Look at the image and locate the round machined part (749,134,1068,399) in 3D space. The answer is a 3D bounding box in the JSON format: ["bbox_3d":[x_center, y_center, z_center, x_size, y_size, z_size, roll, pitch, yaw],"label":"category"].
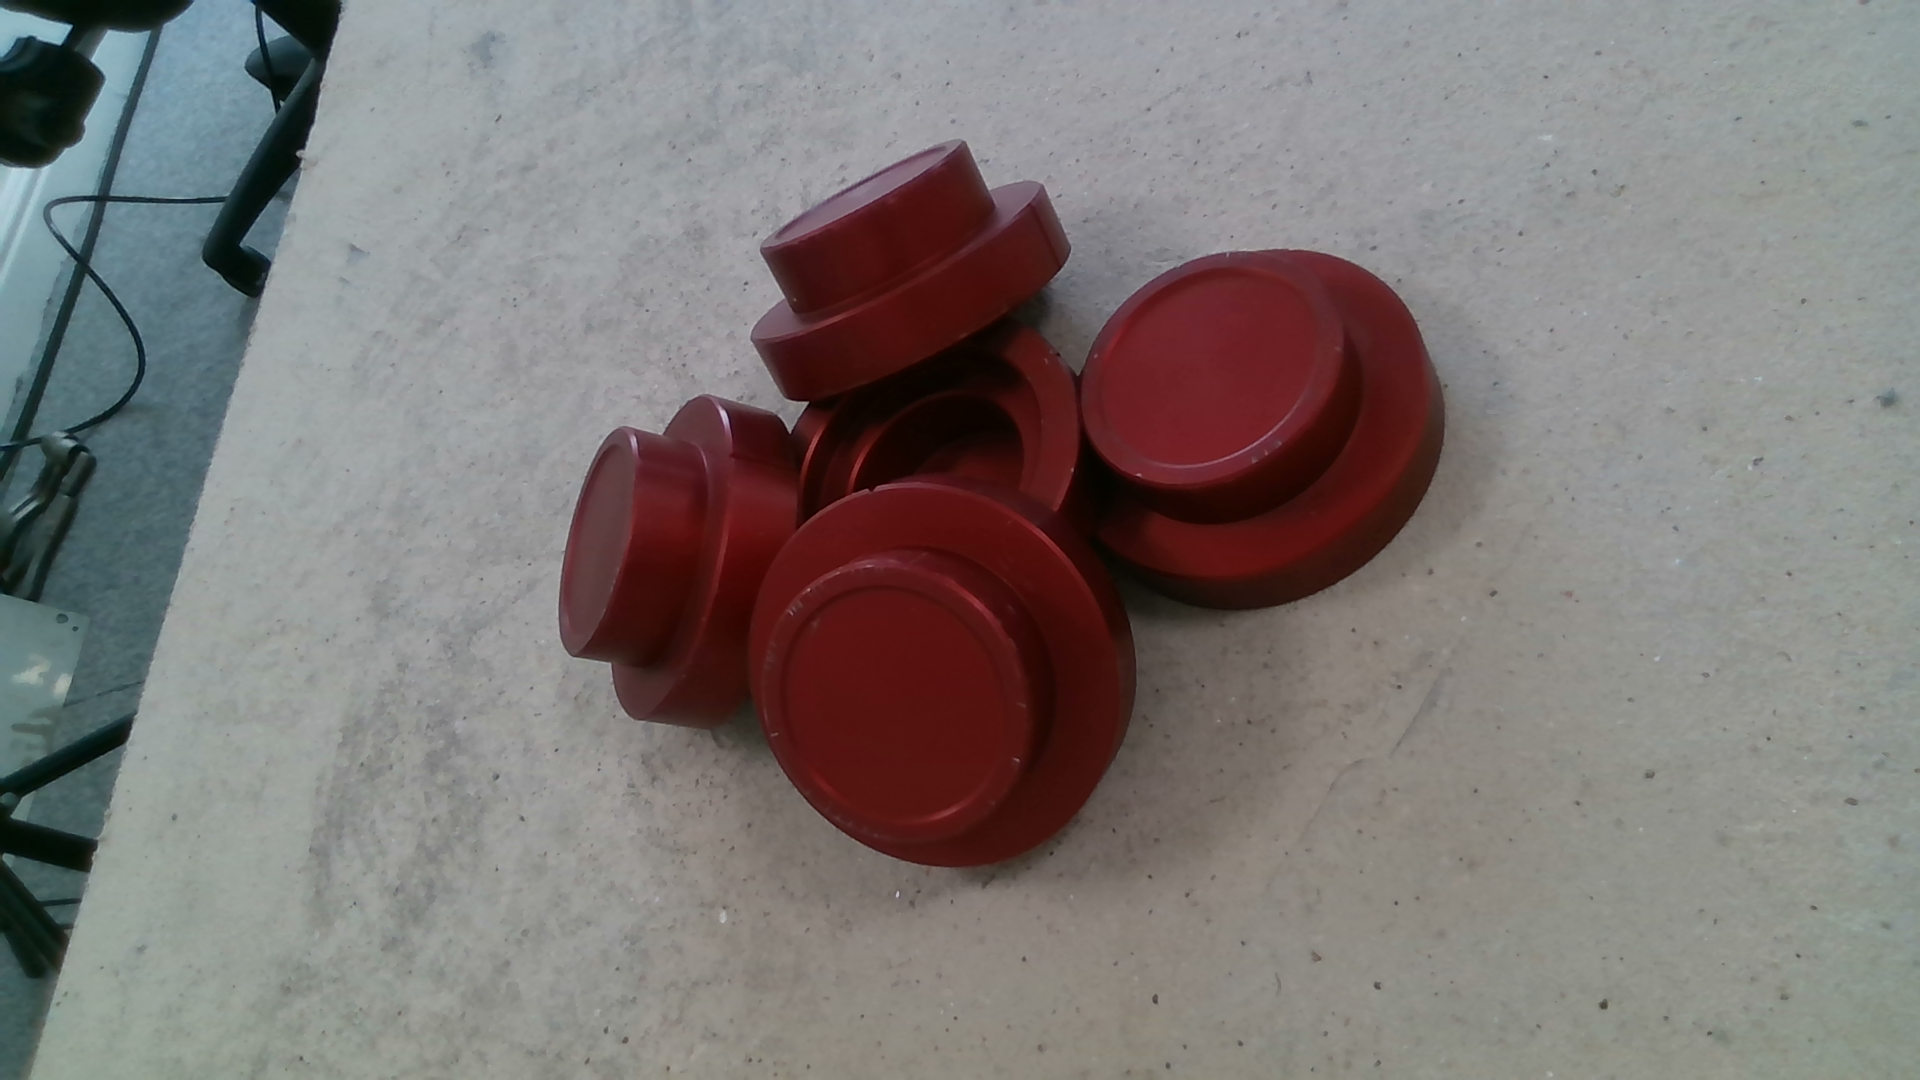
[{"bbox_3d":[-0.020,-0.085,0.409,0.098,0.042,0.098,-25,21,11],"label":"round machined part"}]

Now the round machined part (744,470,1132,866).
[{"bbox_3d":[-0.010,0.034,0.337,0.098,0.042,0.098,4,101,19],"label":"round machined part"}]

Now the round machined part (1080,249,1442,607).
[{"bbox_3d":[0.070,-0.035,0.357,0.098,0.042,0.098,-14,59,24],"label":"round machined part"}]

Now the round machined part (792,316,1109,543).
[{"bbox_3d":[-0.003,-0.012,0.390,0.098,0.042,0.098,-15,56,23],"label":"round machined part"}]

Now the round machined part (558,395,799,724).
[{"bbox_3d":[-0.088,0.004,0.406,0.098,0.042,0.098,-33,50,51],"label":"round machined part"}]
